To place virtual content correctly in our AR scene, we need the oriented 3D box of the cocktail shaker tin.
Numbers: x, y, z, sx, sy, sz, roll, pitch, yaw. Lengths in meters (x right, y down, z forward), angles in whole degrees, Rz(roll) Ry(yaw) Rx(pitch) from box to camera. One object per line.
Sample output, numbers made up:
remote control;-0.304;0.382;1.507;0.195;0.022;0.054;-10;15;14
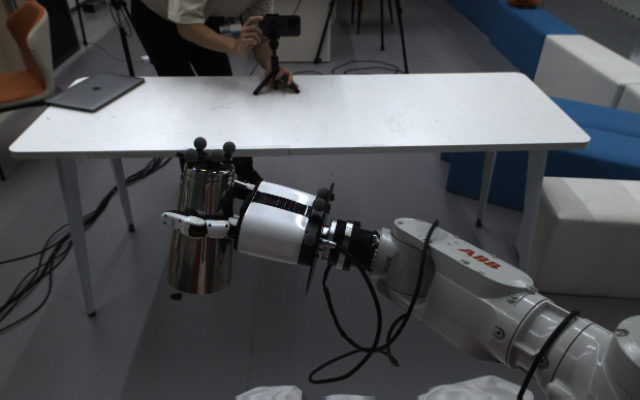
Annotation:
cocktail shaker tin;-0.160;0.033;0.671;0.093;0.170;0.093;9;19;-3
